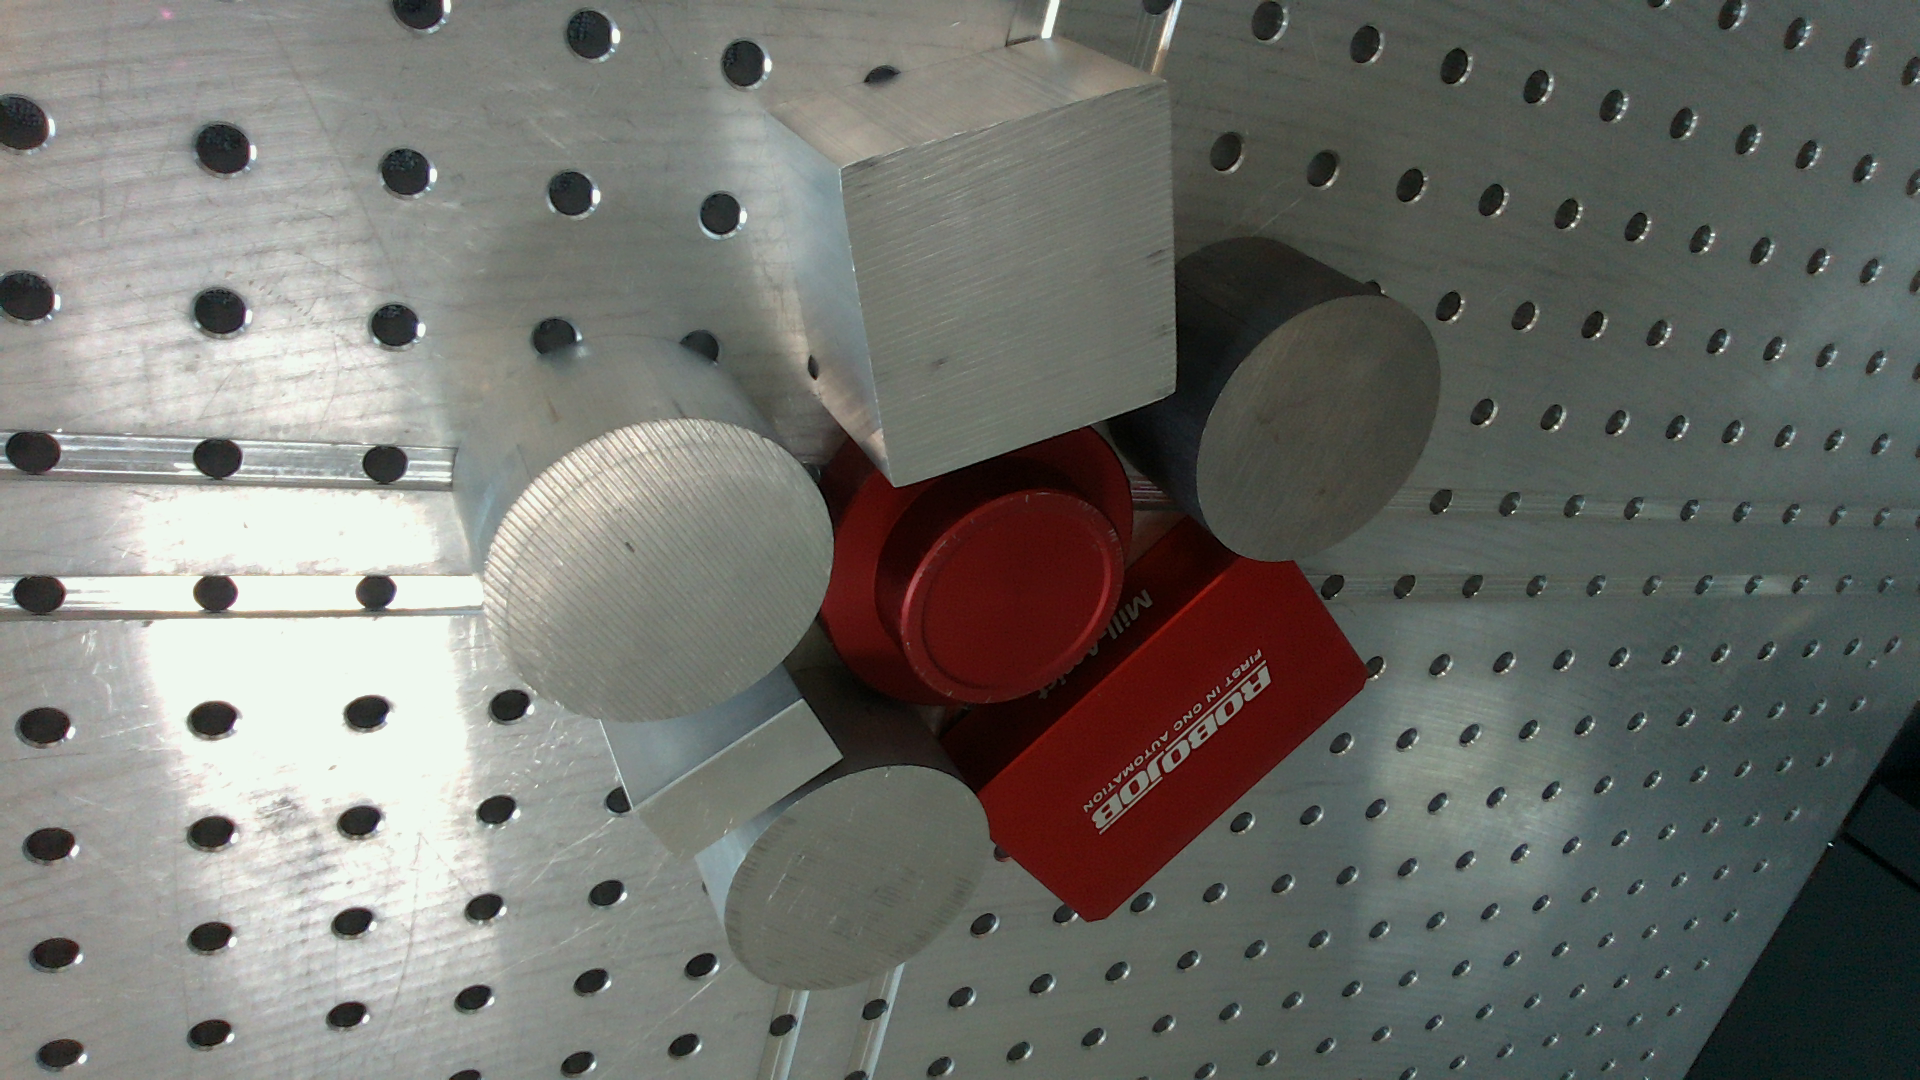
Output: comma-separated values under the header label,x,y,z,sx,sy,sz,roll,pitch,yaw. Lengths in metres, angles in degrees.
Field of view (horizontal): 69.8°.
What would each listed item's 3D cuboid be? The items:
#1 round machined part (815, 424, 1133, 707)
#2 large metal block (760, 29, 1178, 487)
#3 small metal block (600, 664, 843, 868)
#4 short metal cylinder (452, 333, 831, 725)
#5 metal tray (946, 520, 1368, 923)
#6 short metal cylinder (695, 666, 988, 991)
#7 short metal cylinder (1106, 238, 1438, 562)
label,x,y,z,sx,sy,sz,roll,pitch,yaw
round machined part,0.007,0.007,0.389,0.098,0.042,0.098,-14,124,-21
large metal block,0.005,-0.070,0.336,0.080,0.050,0.080,-20,126,-17
small metal block,-0.066,0.051,0.370,0.050,0.050,0.025,-33,129,-7
short metal cylinder,-0.077,-0.003,0.331,0.080,0.050,0.080,-14,124,-21
metal tray,0.065,0.059,0.459,0.130,0.030,0.090,-42,129,0
short metal cylinder,-0.039,0.085,0.406,0.080,0.050,0.080,-14,124,-21
short metal cylinder,0.089,-0.041,0.399,0.080,0.050,0.080,-14,124,-21
